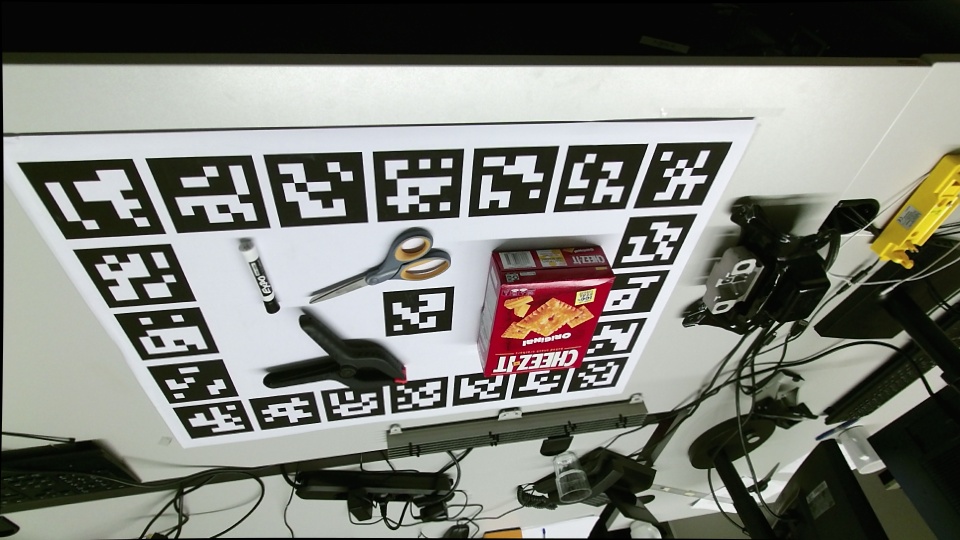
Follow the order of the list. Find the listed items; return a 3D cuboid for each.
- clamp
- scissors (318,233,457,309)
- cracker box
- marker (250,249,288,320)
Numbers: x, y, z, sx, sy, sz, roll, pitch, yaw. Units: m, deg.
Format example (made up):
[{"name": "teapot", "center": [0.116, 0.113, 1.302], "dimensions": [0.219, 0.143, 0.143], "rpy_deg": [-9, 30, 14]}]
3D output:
[{"name": "clamp", "center": [-0.194, 0.149, 0.841], "dimensions": [0.204, 0.036, 0.165], "rpy_deg": [20, 127, -31]}, {"name": "scissors", "center": [-0.128, 0.014, 0.716], "dimensions": [0.203, 0.016, 0.088], "rpy_deg": [-23, 137, 11]}, {"name": "cracker box", "center": [0.098, 0.071, 0.802], "dimensions": [0.165, 0.071, 0.214], "rpy_deg": [-4, 135, -12]}, {"name": "marker", "center": [-0.268, 0.023, 0.684], "dimensions": [0.020, 0.019, 0.121], "rpy_deg": [-7, 136, -9]}]
